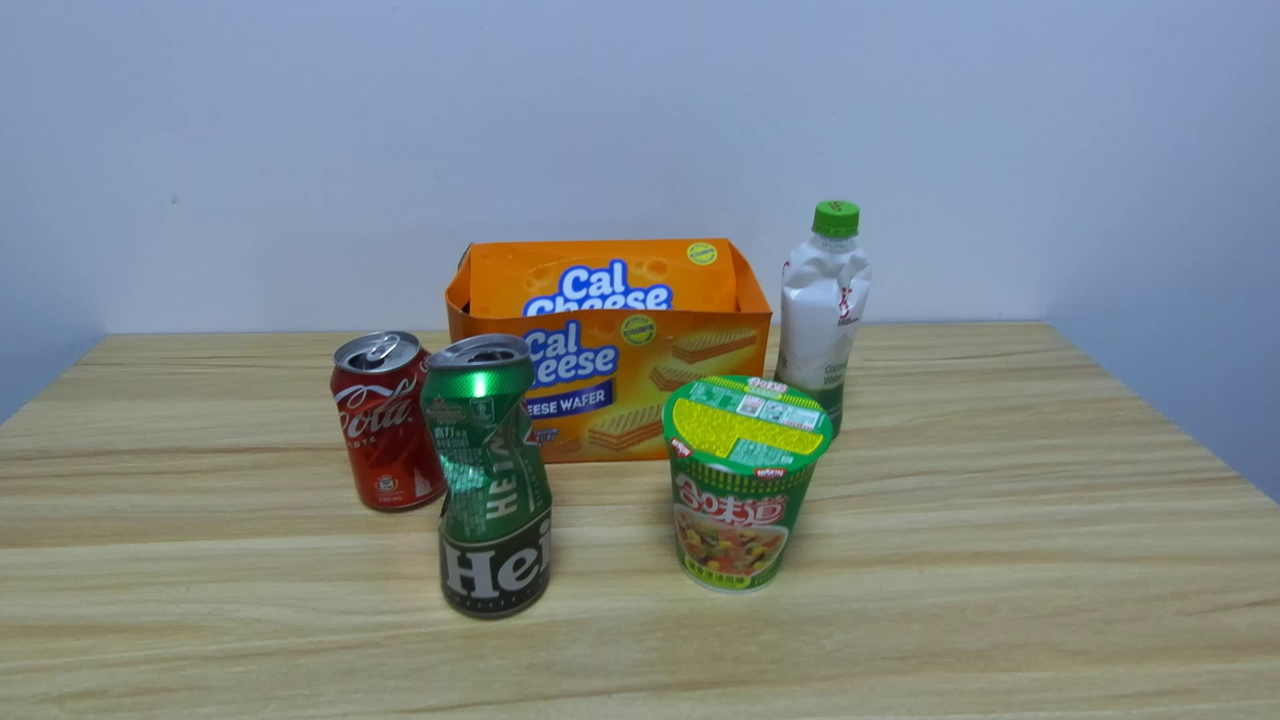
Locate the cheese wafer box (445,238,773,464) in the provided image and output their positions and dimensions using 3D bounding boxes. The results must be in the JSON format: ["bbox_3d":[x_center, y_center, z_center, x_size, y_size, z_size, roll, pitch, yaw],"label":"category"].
[{"bbox_3d":[-0.028,-0.009,0.562,0.231,0.132,0.152,-1,31,-6],"label":"cheese wafer box"}]

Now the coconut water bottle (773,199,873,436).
[{"bbox_3d":[0.134,-0.026,0.534,0.069,0.186,0.069,0,32,0],"label":"coconut water bottle"}]

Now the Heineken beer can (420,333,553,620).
[{"bbox_3d":[-0.083,0.068,0.400,0.067,0.159,0.078,-13,25,-27],"label":"Heineken beer can"}]

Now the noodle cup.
[{"bbox_3d":[0.057,0.078,0.428,0.097,0.110,0.097,2,33,-1],"label":"noodle cup"}]

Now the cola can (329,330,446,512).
[{"bbox_3d":[-0.166,0.041,0.479,0.066,0.117,0.066,-5,29,-10],"label":"cola can"}]
